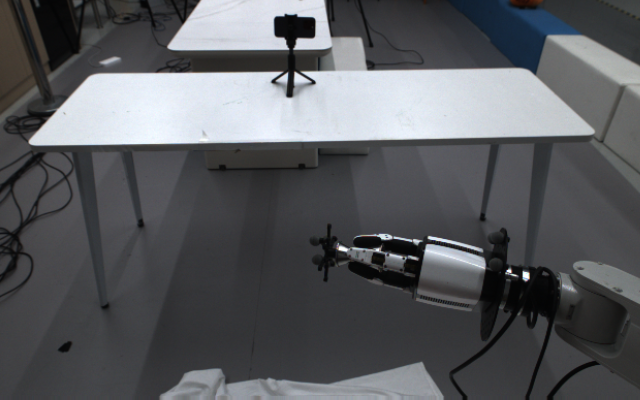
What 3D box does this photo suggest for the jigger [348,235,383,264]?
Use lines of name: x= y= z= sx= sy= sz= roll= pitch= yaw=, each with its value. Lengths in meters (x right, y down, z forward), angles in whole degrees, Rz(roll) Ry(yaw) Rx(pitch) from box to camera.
jigger: x=0.068 y=0.079 z=0.729 sx=0.071 sy=0.043 sz=0.043 roll=2 pitch=34 yaw=16
